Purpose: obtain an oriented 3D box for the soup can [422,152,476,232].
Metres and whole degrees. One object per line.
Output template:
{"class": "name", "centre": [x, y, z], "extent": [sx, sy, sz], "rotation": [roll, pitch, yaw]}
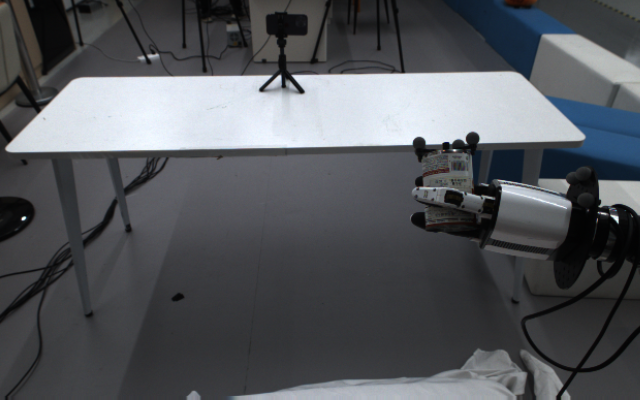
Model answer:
{"class": "soup can", "centre": [0.174, -0.011, 0.649], "extent": [0.067, 0.101, 0.067], "rotation": [-1, -9, 0]}
